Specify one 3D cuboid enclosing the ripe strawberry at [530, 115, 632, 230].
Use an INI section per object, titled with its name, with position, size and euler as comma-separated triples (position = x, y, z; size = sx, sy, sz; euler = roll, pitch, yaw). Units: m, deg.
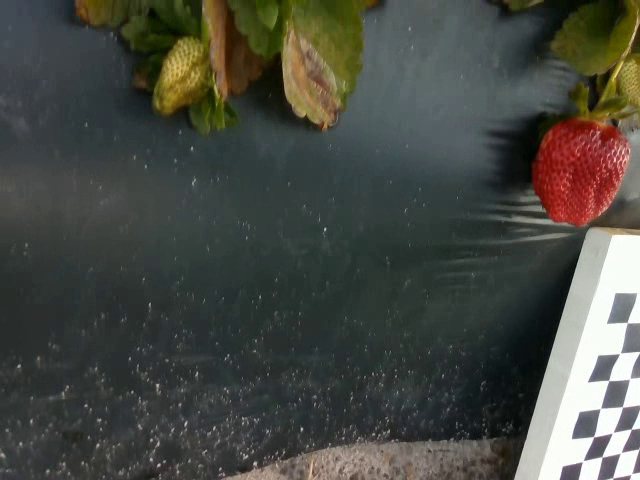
[ripe strawberry]
position = 0.167, -0.043, 0.375
size = 0.067, 0.075, 0.039
euler = 8, 10, -25
